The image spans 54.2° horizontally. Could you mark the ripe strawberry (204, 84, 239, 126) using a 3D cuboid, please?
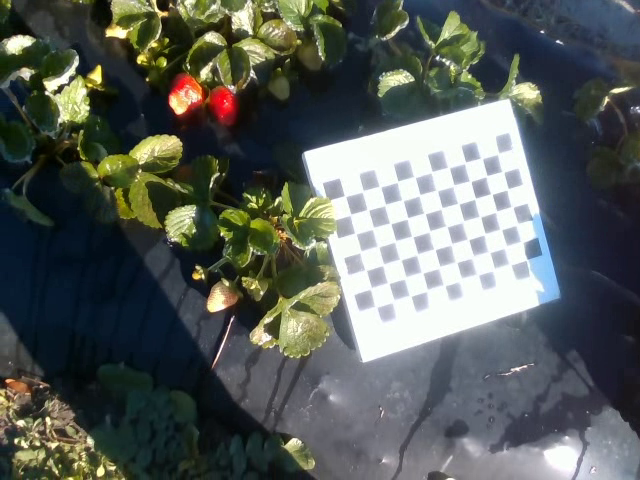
[{"bbox_3d":[-0.138,-0.193,0.876,0.043,0.059,0.040,-16,-2,-11],"label":"ripe strawberry"}]

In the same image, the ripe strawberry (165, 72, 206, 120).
[{"bbox_3d":[-0.191,-0.201,0.876,0.052,0.070,0.040,32,-14,-16],"label":"ripe strawberry"}]
